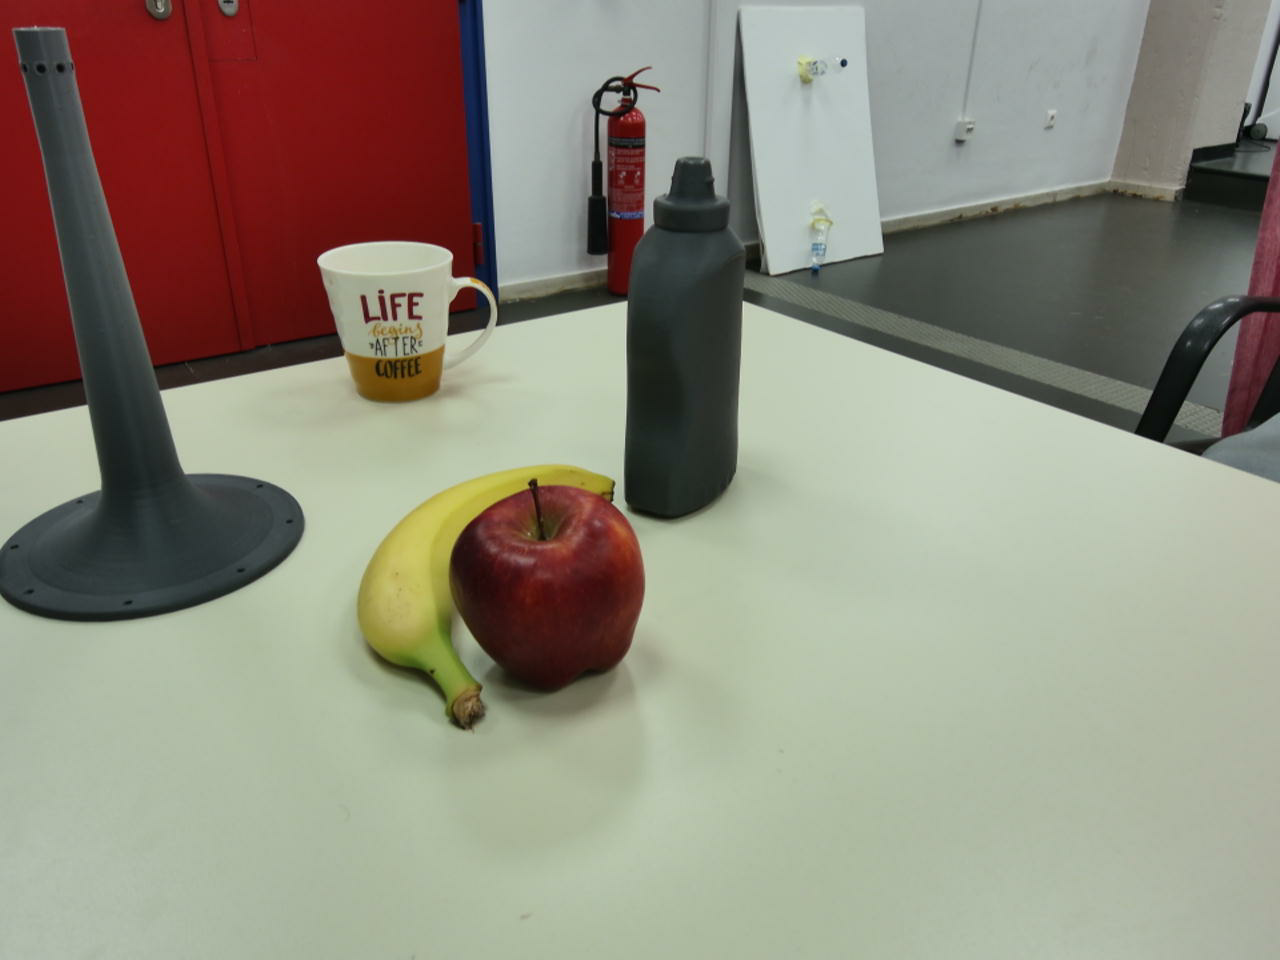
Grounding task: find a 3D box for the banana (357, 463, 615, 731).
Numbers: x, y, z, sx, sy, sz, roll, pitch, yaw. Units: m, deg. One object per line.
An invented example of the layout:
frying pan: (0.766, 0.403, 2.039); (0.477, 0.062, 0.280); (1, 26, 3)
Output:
banana: (-0.083, 0.039, 0.494); (0.094, 0.041, 0.196); (8, 26, 15)
